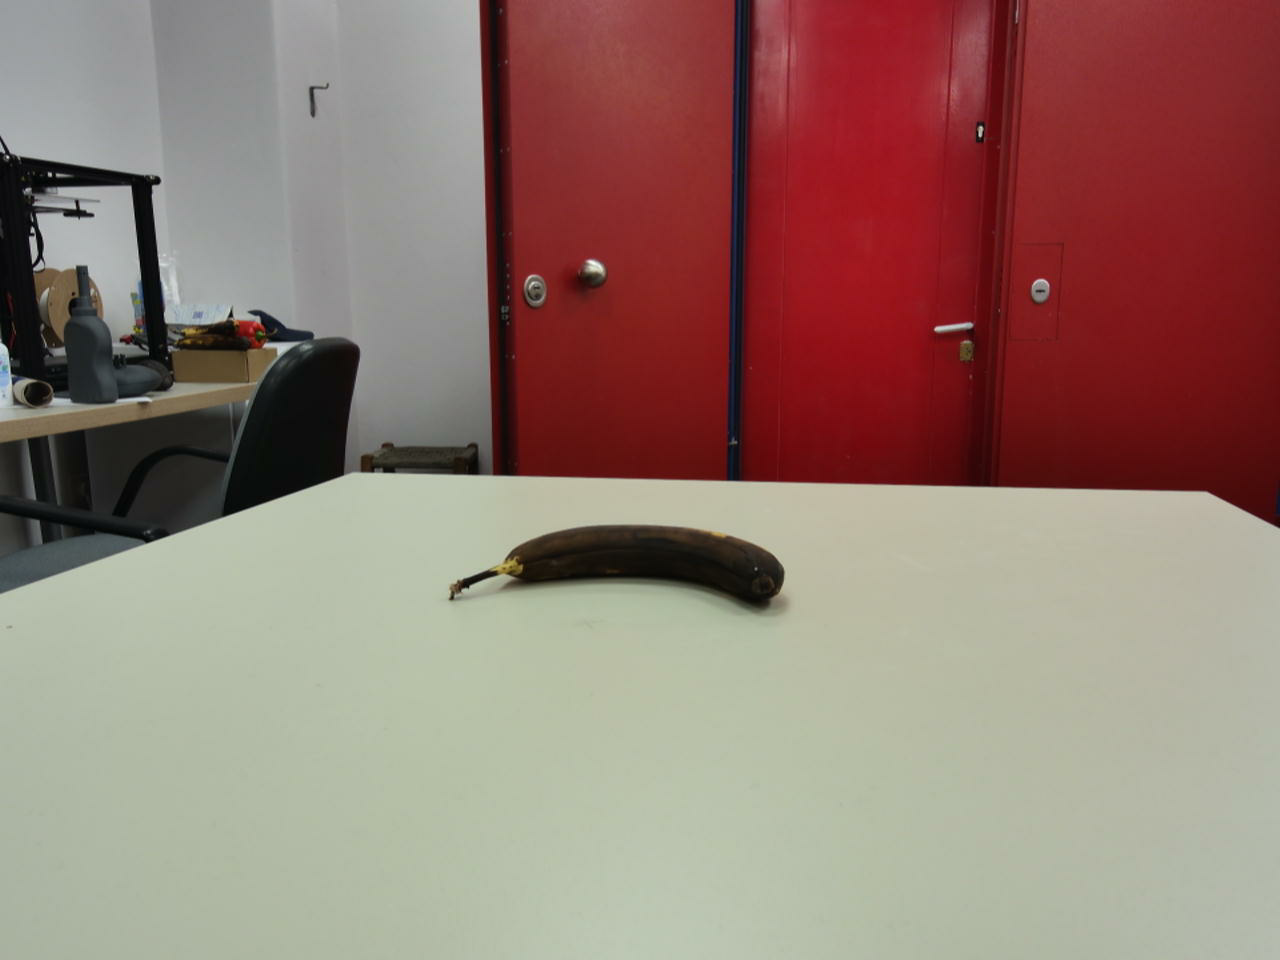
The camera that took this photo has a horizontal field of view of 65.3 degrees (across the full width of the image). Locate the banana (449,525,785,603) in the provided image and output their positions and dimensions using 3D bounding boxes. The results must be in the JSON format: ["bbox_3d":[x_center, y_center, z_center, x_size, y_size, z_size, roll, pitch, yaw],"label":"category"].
[{"bbox_3d":[-0.008,0.048,0.590,0.188,0.033,0.091,1,8,13],"label":"banana"}]
